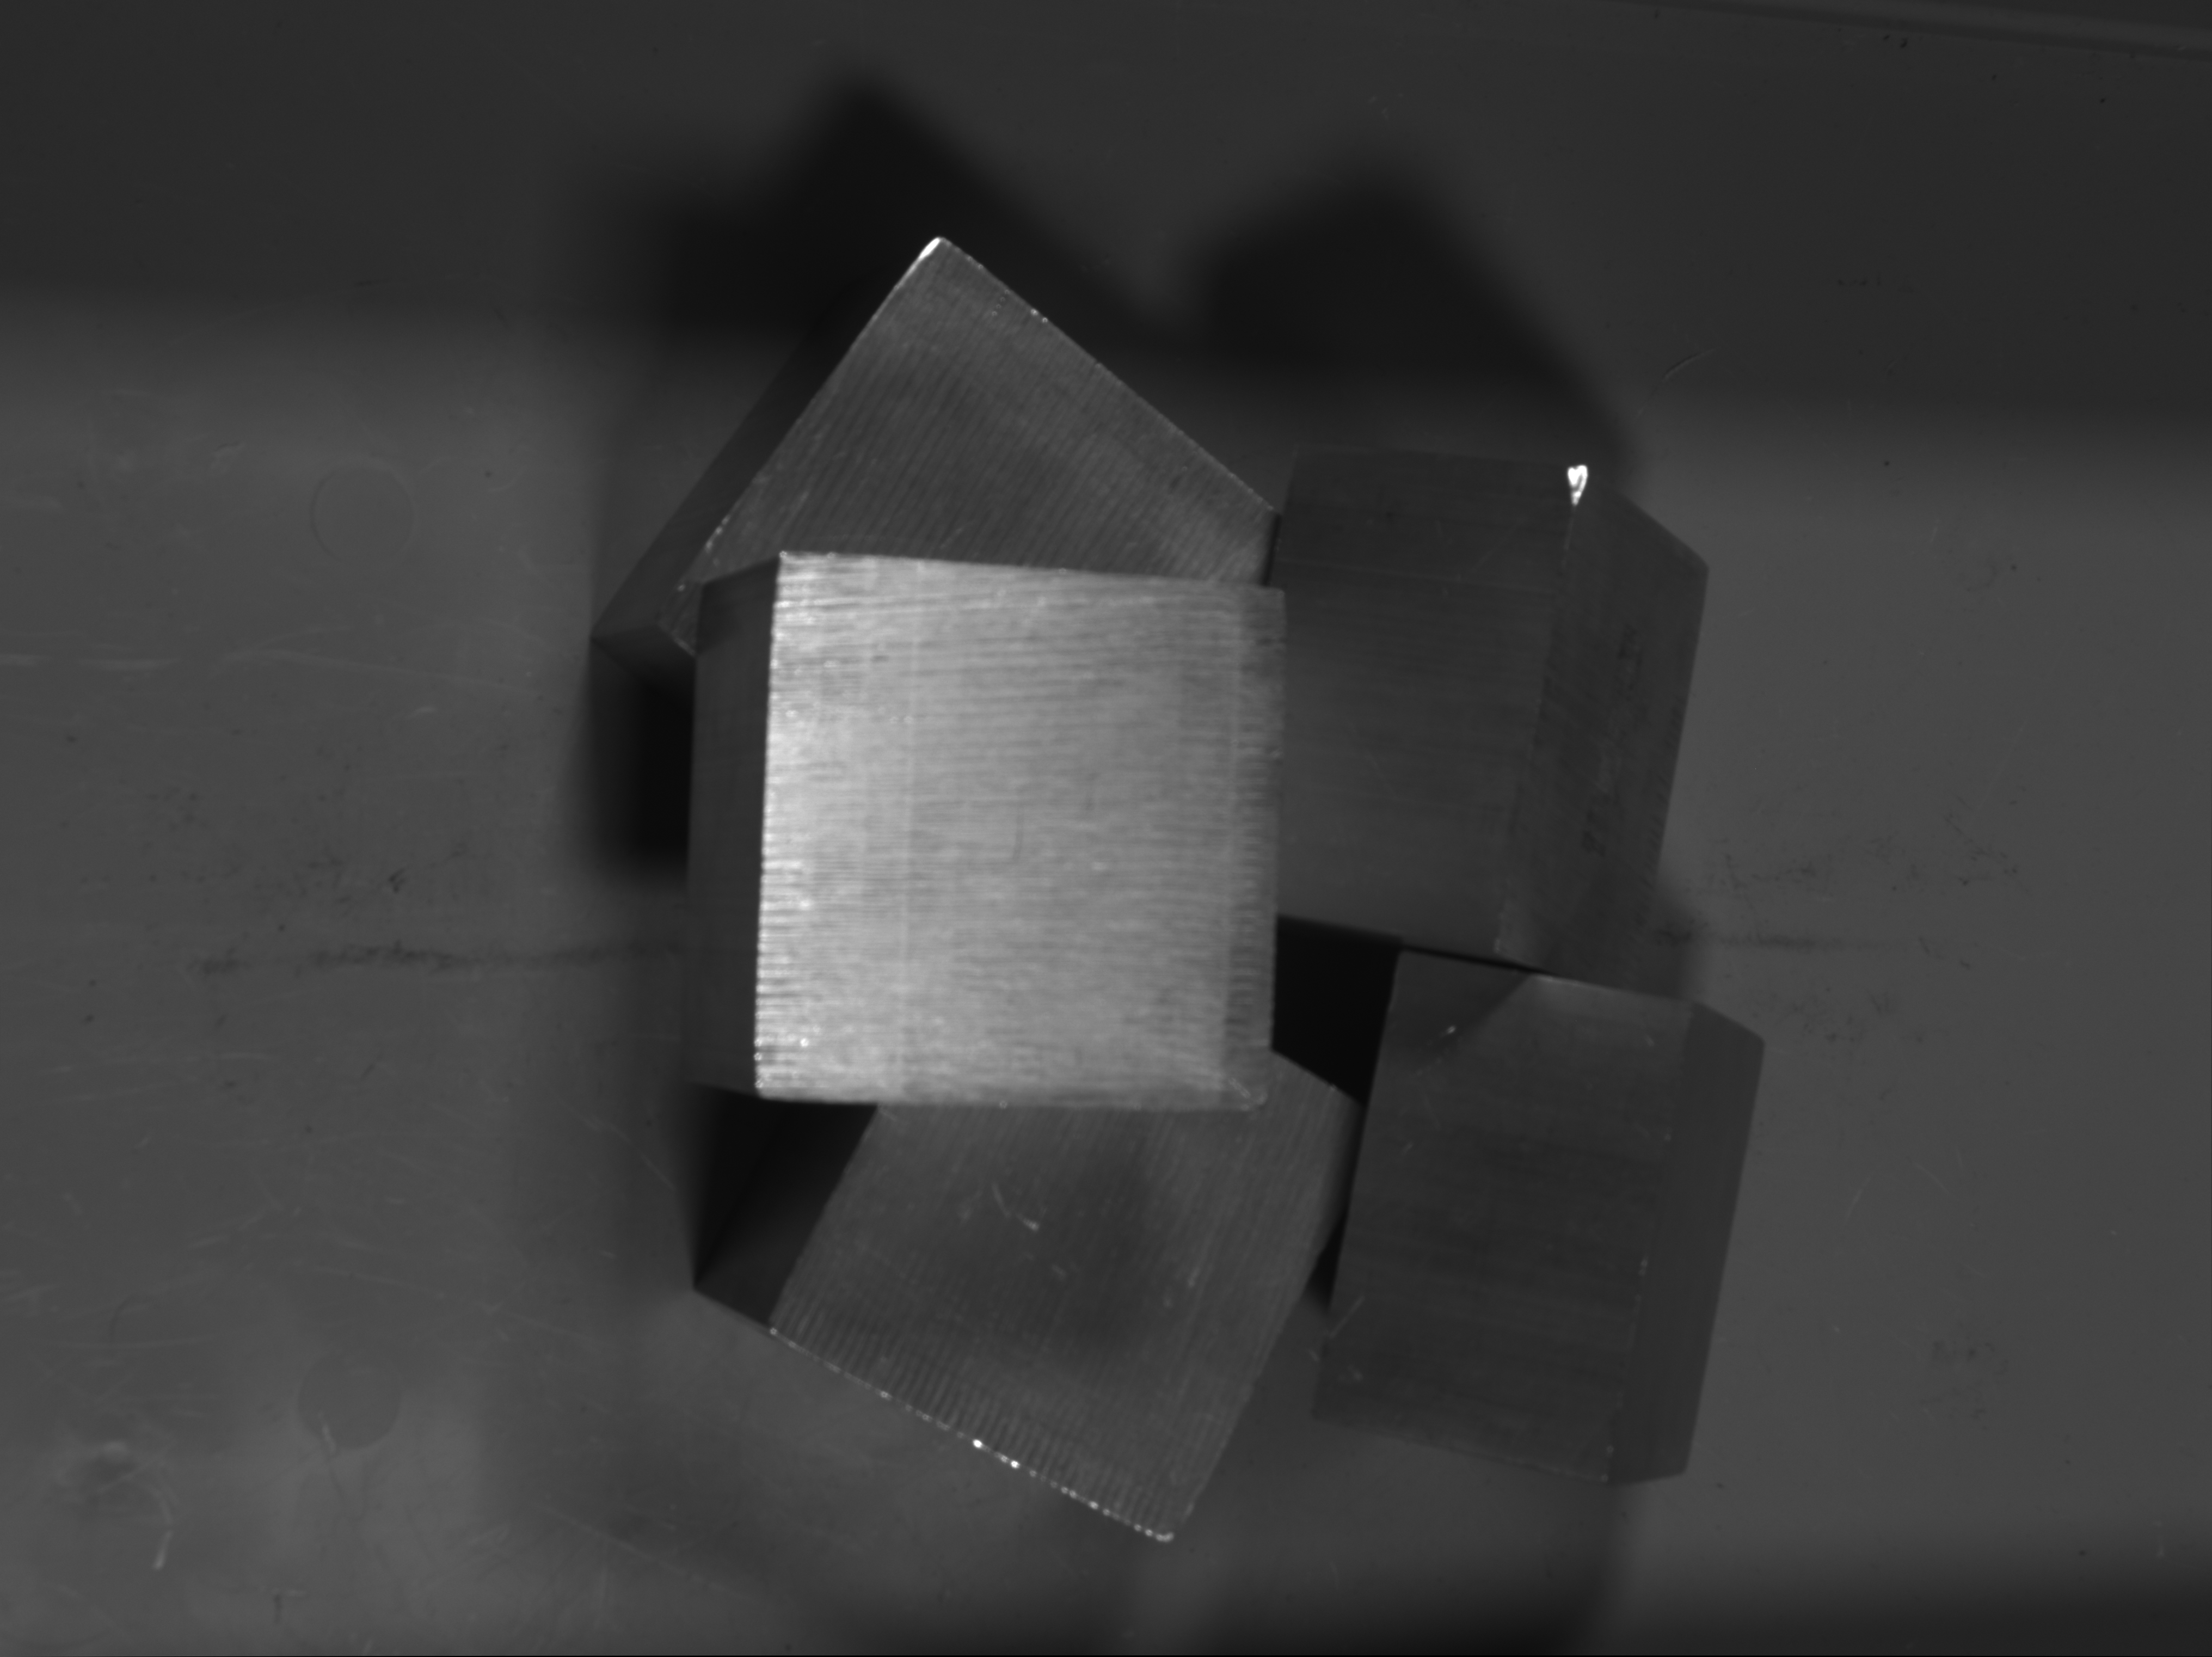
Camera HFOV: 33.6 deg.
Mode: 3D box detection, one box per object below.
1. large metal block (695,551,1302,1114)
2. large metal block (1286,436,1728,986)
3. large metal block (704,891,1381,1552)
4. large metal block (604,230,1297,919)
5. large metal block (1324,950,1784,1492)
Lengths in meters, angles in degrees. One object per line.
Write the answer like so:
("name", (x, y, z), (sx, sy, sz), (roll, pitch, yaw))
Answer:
("large metal block", (-0.017, 0.002, 0.568), (0.080, 0.050, 0.080), (3, 88, -19))
("large metal block", (0.066, -0.017, 0.630), (0.080, 0.050, 0.080), (19, 81, -64))
("large metal block", (-0.009, 0.065, 0.623), (0.080, 0.050, 0.080), (31, 80, -17))
("large metal block", (-0.025, -0.041, 0.620), (0.080, 0.050, 0.080), (38, 78, -16))
("large metal block", (0.080, 0.069, 0.635), (0.050, 0.080, 0.080), (10, 85, 20))
